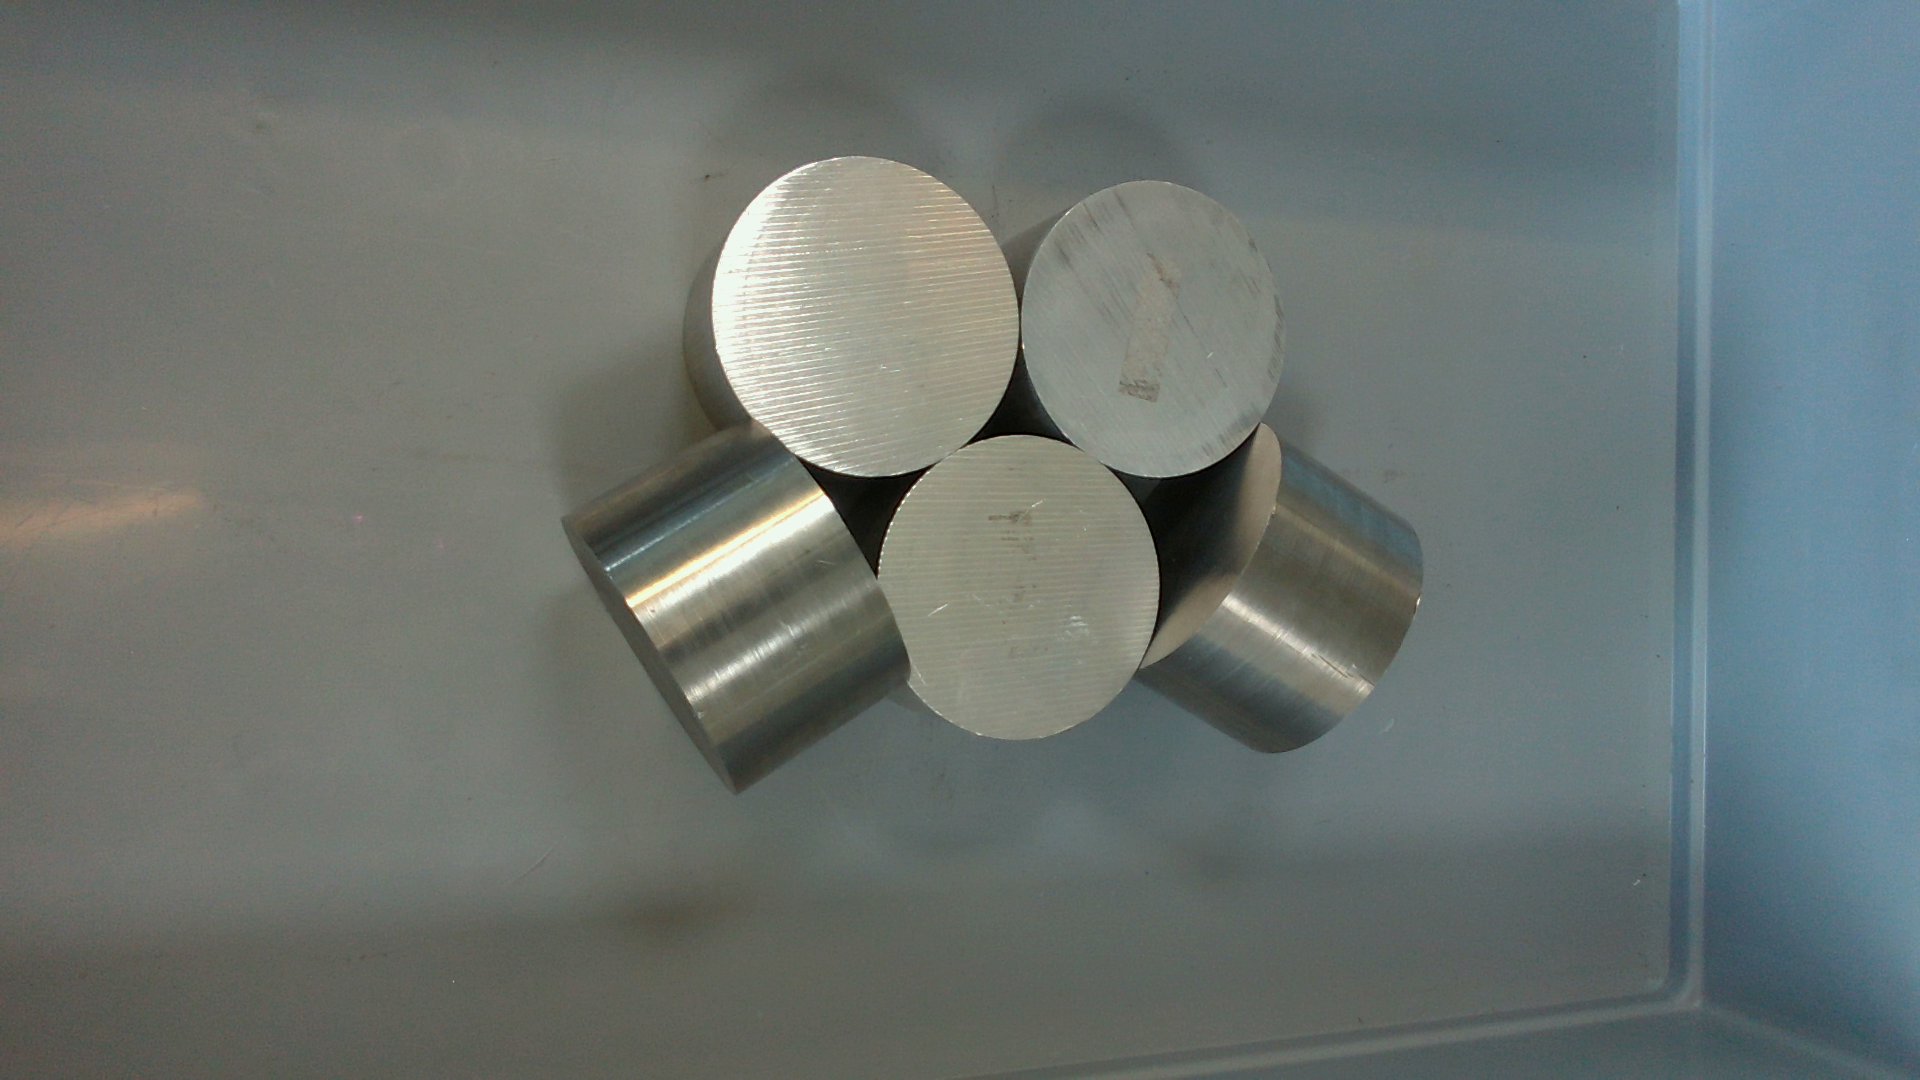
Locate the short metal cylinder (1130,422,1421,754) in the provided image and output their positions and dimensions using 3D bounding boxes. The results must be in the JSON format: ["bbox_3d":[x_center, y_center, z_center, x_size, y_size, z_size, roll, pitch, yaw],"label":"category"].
[{"bbox_3d":[0.083,0.014,0.393,0.050,0.080,0.080,31,80,-17],"label":"short metal cylinder"}]

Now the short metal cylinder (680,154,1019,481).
[{"bbox_3d":[-0.031,-0.056,0.368,0.080,0.050,0.080,0,90,-20],"label":"short metal cylinder"}]

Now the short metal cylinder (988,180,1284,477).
[{"bbox_3d":[0.045,-0.057,0.395,0.080,0.050,0.080,0,90,-20],"label":"short metal cylinder"}]

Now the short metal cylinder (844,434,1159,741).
[{"bbox_3d":[0.008,0.012,0.382,0.080,0.050,0.080,0,90,-20],"label":"short metal cylinder"}]

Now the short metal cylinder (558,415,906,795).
[{"bbox_3d":[-0.057,0.016,0.342,0.050,0.080,0.080,-32,100,-17],"label":"short metal cylinder"}]
